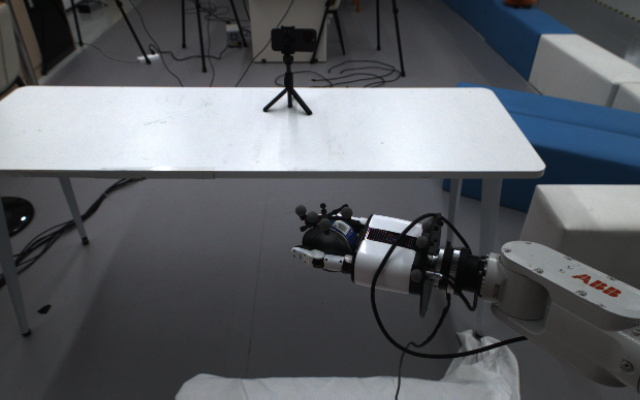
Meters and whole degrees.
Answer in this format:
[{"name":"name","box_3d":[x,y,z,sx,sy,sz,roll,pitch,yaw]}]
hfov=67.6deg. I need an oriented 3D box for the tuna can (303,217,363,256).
[{"name":"tuna can","box_3d":[0.019,0.068,0.757,0.085,0.085,0.034,17,36,20]}]
